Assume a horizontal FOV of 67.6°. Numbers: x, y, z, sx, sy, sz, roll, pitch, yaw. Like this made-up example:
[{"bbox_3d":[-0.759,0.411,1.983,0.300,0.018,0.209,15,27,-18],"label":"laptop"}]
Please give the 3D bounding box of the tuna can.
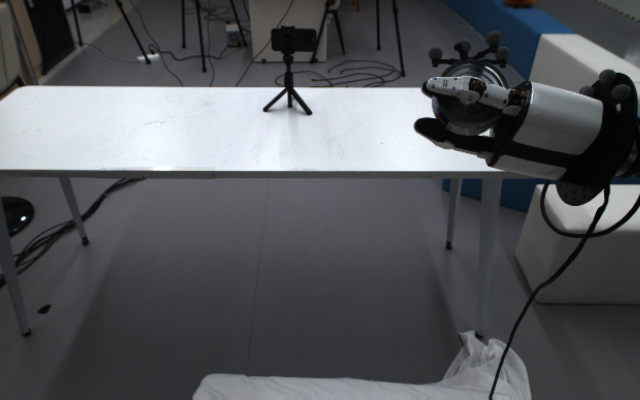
[{"bbox_3d":[0.178,-0.124,0.579,0.085,0.034,0.085,-1,74,4],"label":"tuna can"}]
